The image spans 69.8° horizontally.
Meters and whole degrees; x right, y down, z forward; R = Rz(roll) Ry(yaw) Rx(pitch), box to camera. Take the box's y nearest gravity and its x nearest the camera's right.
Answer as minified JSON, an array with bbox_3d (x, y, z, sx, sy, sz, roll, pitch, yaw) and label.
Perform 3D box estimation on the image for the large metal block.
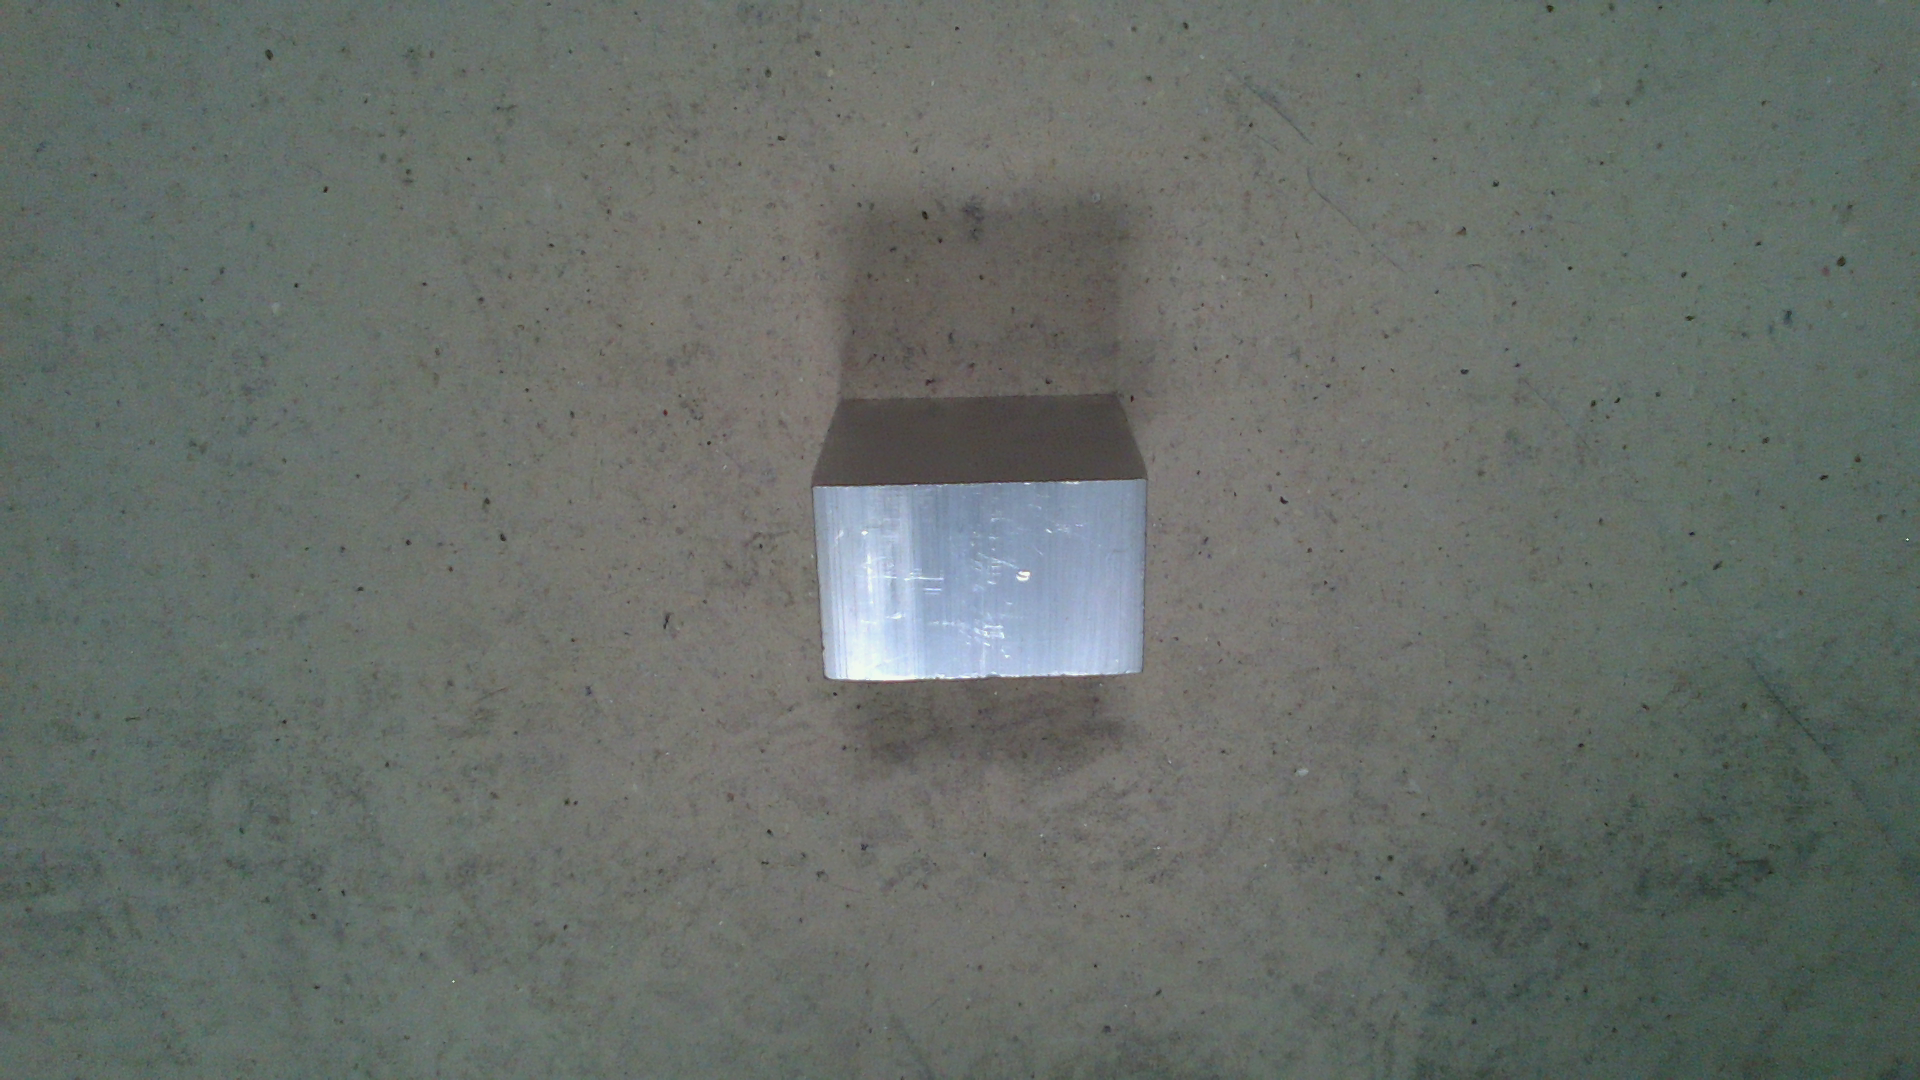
[{"bbox_3d":[0.005,-0.004,0.364,0.080,0.080,0.050,-1,110,0],"label":"large metal block"}]
